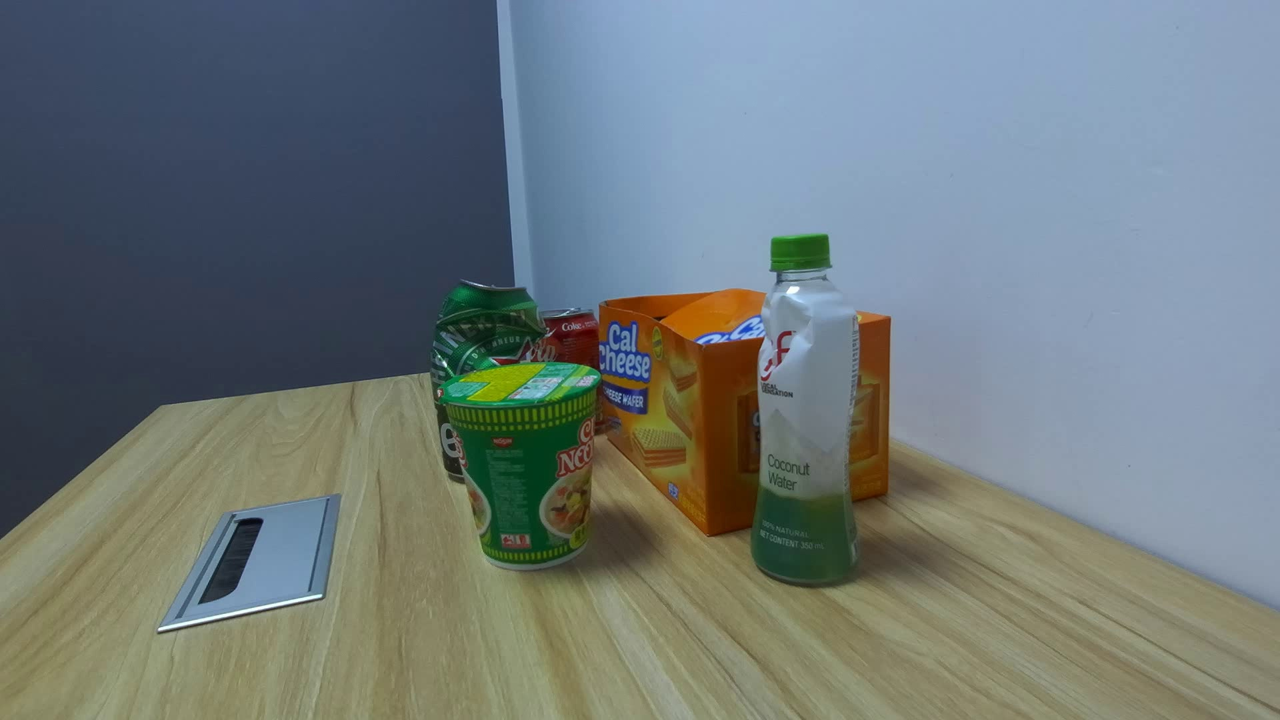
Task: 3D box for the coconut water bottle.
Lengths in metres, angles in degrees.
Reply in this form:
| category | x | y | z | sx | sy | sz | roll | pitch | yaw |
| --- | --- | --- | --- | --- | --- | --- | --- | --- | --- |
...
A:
| category | x | y | z | sx | sy | sz | roll | pitch | yaw |
| --- | --- | --- | --- | --- | --- | --- | --- | --- | --- |
| coconut water bottle | 0.090 | 0.026 | 0.392 | 0.069 | 0.186 | 0.069 | -3 | 12 | 1 |

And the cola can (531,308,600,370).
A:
| category | x | y | z | sx | sy | sz | roll | pitch | yaw |
| --- | --- | --- | --- | --- | --- | --- | --- | --- | --- |
| cola can | -0.067 | 0.010 | 0.670 | 0.067 | 0.117 | 0.065 | -8 | 11 | -30 |

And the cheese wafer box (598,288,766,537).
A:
| category | x | y | z | sx | sy | sz | roll | pitch | yaw |
| --- | --- | --- | --- | --- | --- | --- | --- | --- | --- |
| cheese wafer box | 0.065 | 0.022 | 0.556 | 0.153 | 0.132 | 0.229 | -9 | 14 | -19 |

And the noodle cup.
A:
| category | x | y | z | sx | sy | sz | roll | pitch | yaw |
| --- | --- | --- | --- | --- | --- | --- | --- | --- | --- |
| noodle cup | -0.068 | 0.065 | 0.441 | 0.097 | 0.110 | 0.097 | -4 | 14 | 1 |

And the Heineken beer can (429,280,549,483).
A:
| category | x | y | z | sx | sy | sz | roll | pitch | yaw |
| --- | --- | --- | --- | --- | --- | --- | --- | --- | --- |
| Heineken beer can | -0.124 | 0.019 | 0.567 | 0.079 | 0.159 | 0.067 | 0 | 3 | -40 |
